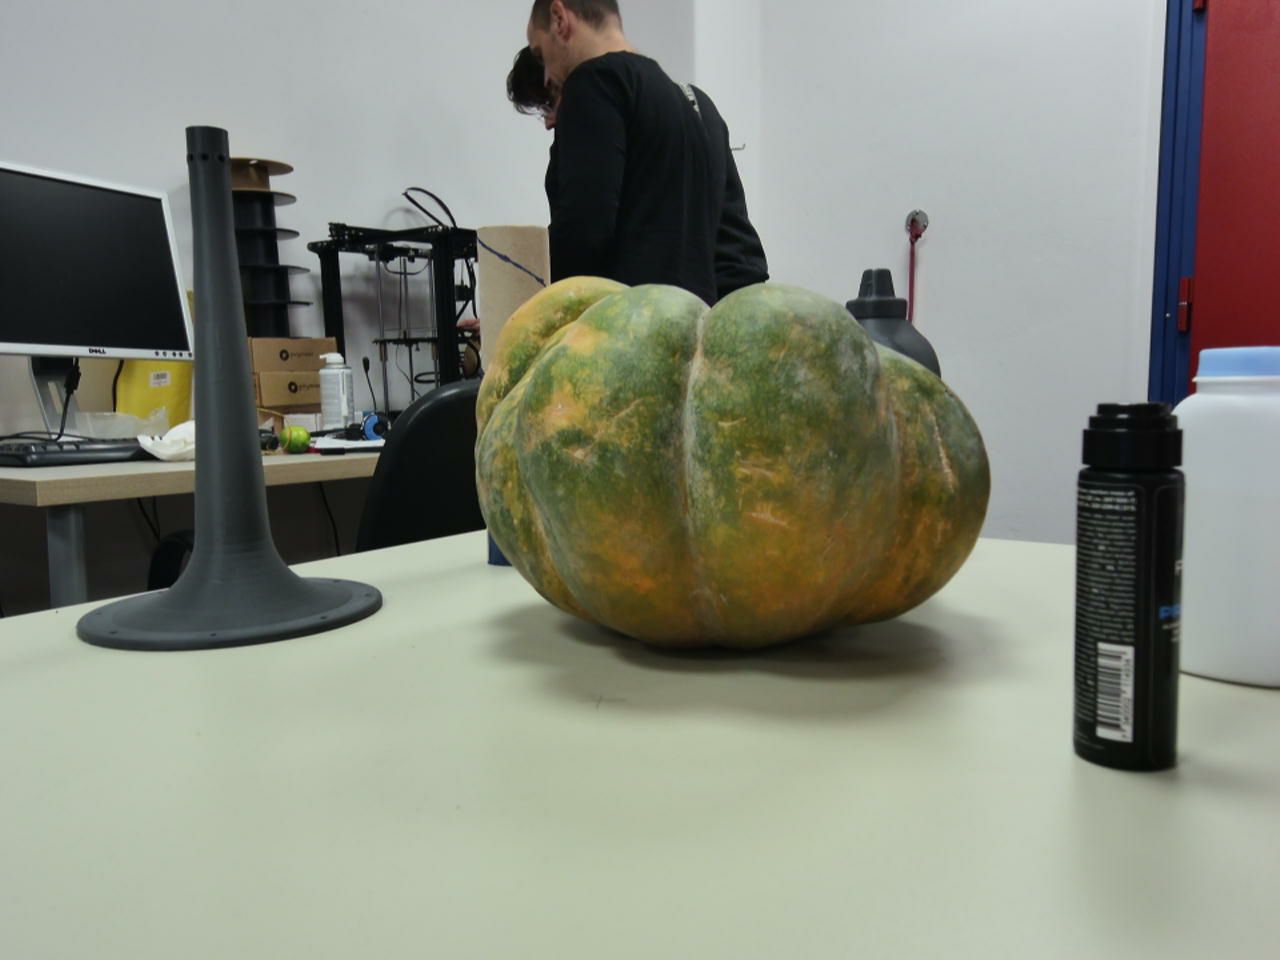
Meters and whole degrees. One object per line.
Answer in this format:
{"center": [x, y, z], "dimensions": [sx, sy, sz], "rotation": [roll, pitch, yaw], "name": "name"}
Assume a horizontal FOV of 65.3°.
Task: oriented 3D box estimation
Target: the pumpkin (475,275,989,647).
{"center": [0.040, -0.012, 0.492], "dimensions": [0.237, 0.173, 0.270], "rotation": [-1, 3, -15], "name": "pumpkin"}
